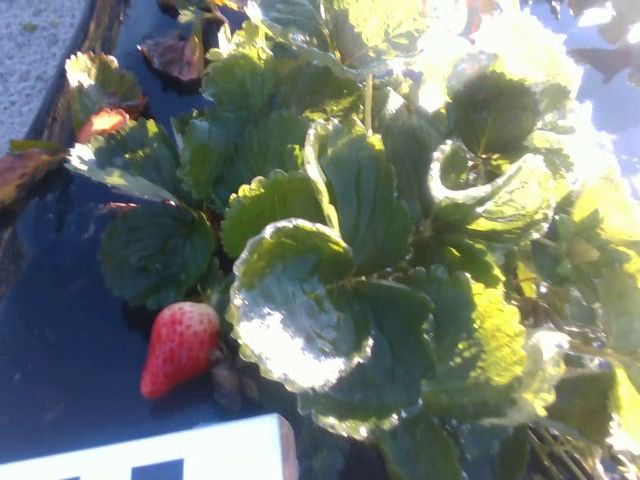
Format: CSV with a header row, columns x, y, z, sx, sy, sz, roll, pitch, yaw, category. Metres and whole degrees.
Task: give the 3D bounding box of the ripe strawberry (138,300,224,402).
x,y,z,sx,sy,sz,roll,pitch,yaw,category
-0.088,0.057,0.322,0.040,0.065,0.040,26,-21,28,ripe strawberry
